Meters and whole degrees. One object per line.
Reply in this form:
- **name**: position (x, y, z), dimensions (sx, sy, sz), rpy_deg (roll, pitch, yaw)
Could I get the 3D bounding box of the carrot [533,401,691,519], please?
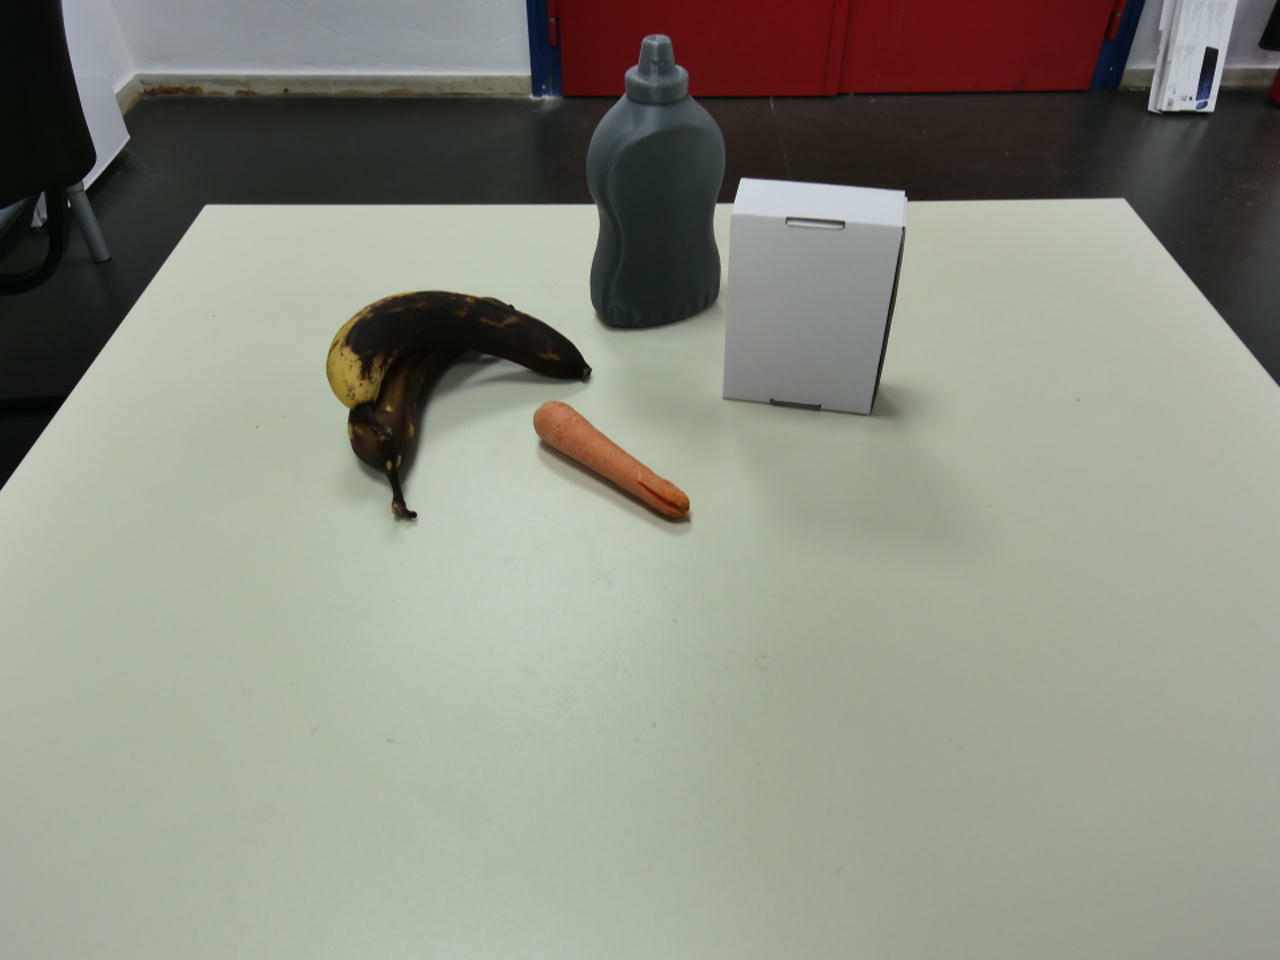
- **carrot**: position (-0.021, -0.015, 0.632), dimensions (0.030, 0.032, 0.136), rpy_deg (-32, 49, -33)
